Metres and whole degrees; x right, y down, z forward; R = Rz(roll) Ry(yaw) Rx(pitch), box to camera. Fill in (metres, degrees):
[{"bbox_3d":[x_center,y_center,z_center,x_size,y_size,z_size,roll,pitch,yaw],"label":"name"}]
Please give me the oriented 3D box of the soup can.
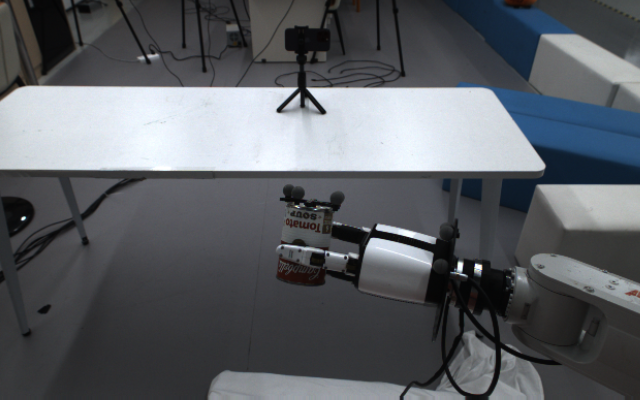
[{"bbox_3d":[-0.018,0.057,0.650,0.067,0.101,0.067,7,4,0],"label":"soup can"}]
